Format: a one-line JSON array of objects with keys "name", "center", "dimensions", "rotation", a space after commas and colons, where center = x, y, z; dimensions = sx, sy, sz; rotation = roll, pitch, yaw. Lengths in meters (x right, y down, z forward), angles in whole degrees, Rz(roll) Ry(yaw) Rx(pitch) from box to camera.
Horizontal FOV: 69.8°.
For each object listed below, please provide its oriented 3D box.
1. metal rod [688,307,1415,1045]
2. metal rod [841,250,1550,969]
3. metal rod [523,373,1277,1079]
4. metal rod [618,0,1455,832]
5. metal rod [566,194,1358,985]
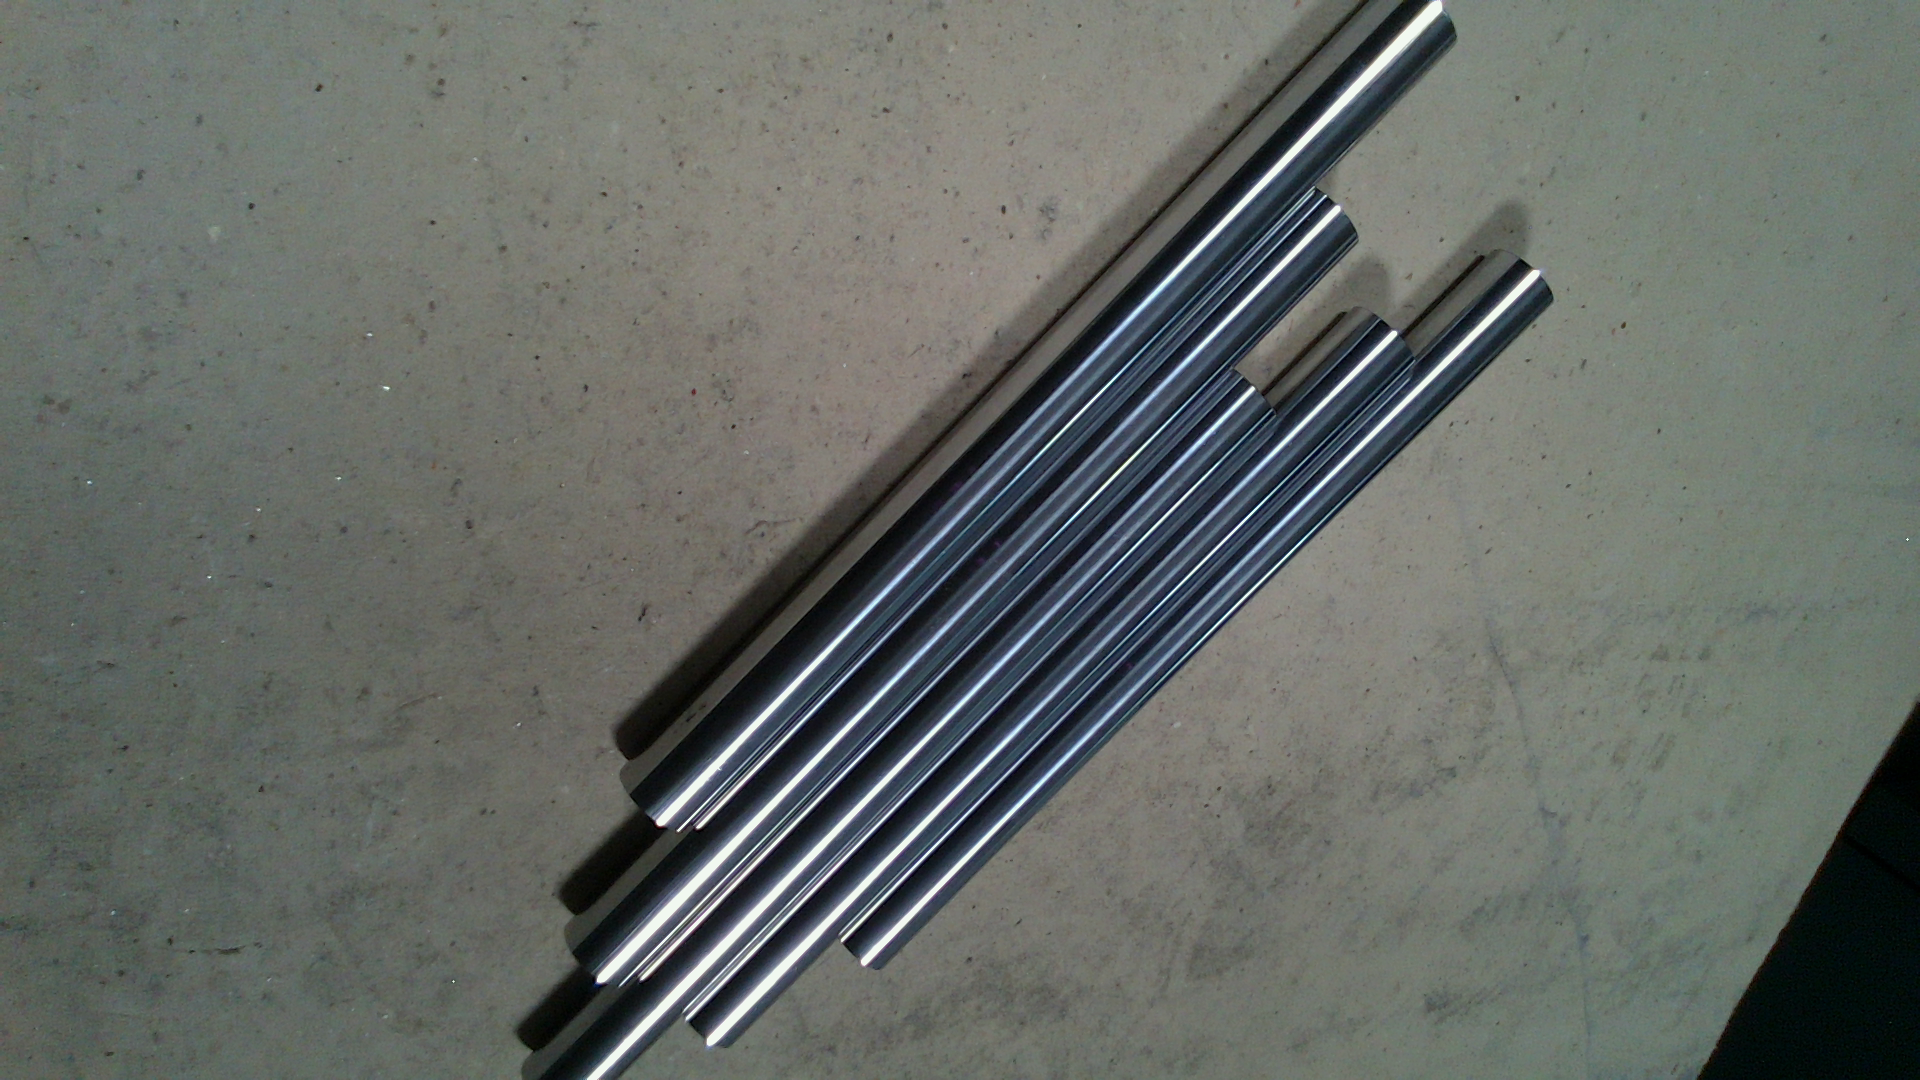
[{"name": "metal rod", "center": [0.024, 0.044, 0.429], "dimensions": [0.300, 0.025, 0.025], "rotation": [-45, 129, 3]}, {"name": "metal rod", "center": [0.071, 0.024, 0.442], "dimensions": [0.300, 0.025, 0.025], "rotation": [-45, 129, 3]}, {"name": "metal rod", "center": [-0.020, 0.061, 0.416], "dimensions": [0.300, 0.025, 0.025], "rotation": [-46, 129, 3]}, {"name": "metal rod", "center": [0.018, -0.034, 0.379], "dimensions": [0.300, 0.025, 0.025], "rotation": [-45, 129, 3]}, {"name": "metal rod", "center": [-0.002, 0.015, 0.397], "dimensions": [0.300, 0.025, 0.025], "rotation": [-46, 129, 3]}]
